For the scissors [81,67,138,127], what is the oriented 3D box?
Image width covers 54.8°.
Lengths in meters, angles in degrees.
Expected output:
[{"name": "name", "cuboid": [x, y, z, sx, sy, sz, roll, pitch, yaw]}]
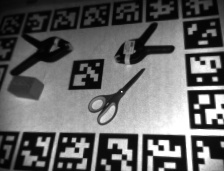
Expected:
[{"name": "scissors", "cuboid": [0.003, 0.019, 0.596, 0.087, 0.016, 0.203, 40, 80, 17]}]

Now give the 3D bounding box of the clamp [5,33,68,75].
[{"name": "clamp", "cuboid": [-0.243, -0.116, 0.709, 0.202, 0.037, 0.165, -5, 63, 11]}]

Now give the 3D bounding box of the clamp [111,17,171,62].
[{"name": "clamp", "cuboid": [0.073, -0.118, 0.634, 0.165, 0.037, 0.121, -28, 71, 2]}]

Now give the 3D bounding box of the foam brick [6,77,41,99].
[{"name": "foam brick", "cuboid": [-0.270, 0.008, 0.657, 0.077, 0.052, 0.052, 4, 70, 21]}]
